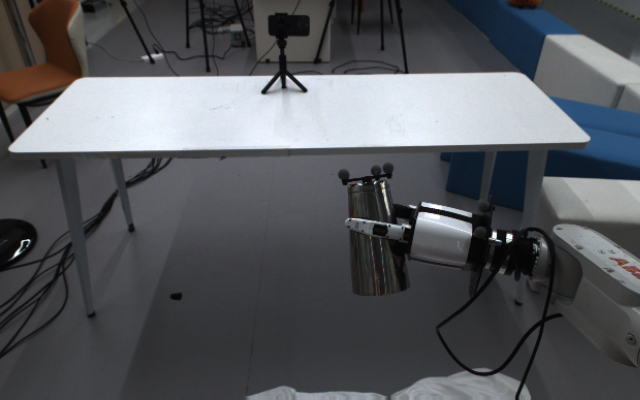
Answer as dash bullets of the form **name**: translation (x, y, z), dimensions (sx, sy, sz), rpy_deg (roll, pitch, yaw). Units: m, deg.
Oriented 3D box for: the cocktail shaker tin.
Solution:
- **cocktail shaker tin**: translation (0.086, 0.056, 0.768), dimensions (0.093, 0.170, 0.093), rpy_deg (-8, 1, 0)
